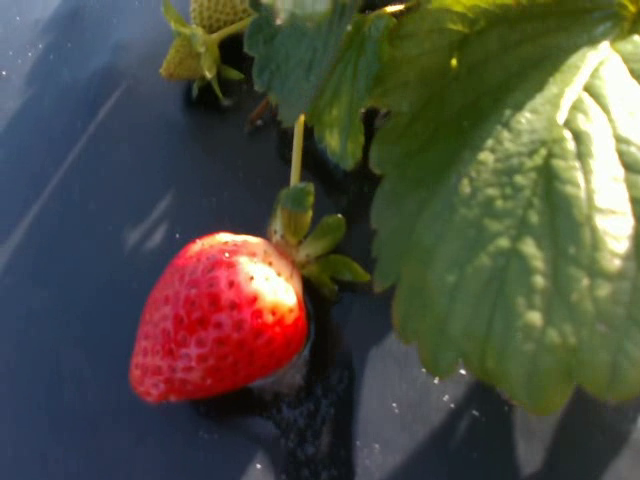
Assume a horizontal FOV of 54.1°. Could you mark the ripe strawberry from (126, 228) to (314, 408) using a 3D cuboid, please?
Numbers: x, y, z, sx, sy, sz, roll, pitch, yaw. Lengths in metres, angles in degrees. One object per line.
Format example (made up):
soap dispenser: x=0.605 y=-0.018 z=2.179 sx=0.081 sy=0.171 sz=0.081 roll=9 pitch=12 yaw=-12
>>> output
ripe strawberry: x=-0.021 y=0.018 z=0.117 sx=0.044 sy=0.033 sz=0.030 roll=-40 pitch=23 yaw=-6
